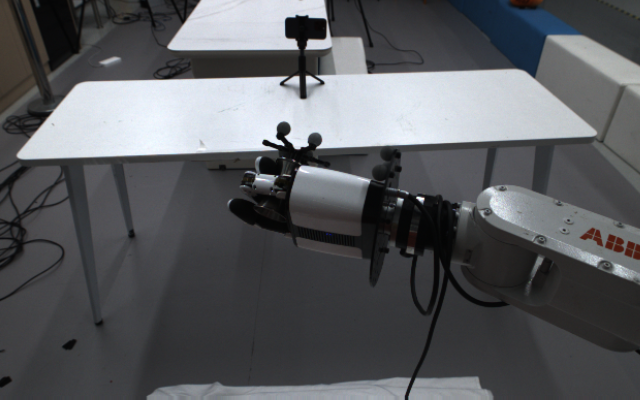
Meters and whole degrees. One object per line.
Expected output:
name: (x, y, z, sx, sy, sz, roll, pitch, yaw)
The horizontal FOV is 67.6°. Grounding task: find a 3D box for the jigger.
jigger: (-0.045, -0.013, 0.583, 0.043, 0.043, 0.071, 15, 71, 18)
